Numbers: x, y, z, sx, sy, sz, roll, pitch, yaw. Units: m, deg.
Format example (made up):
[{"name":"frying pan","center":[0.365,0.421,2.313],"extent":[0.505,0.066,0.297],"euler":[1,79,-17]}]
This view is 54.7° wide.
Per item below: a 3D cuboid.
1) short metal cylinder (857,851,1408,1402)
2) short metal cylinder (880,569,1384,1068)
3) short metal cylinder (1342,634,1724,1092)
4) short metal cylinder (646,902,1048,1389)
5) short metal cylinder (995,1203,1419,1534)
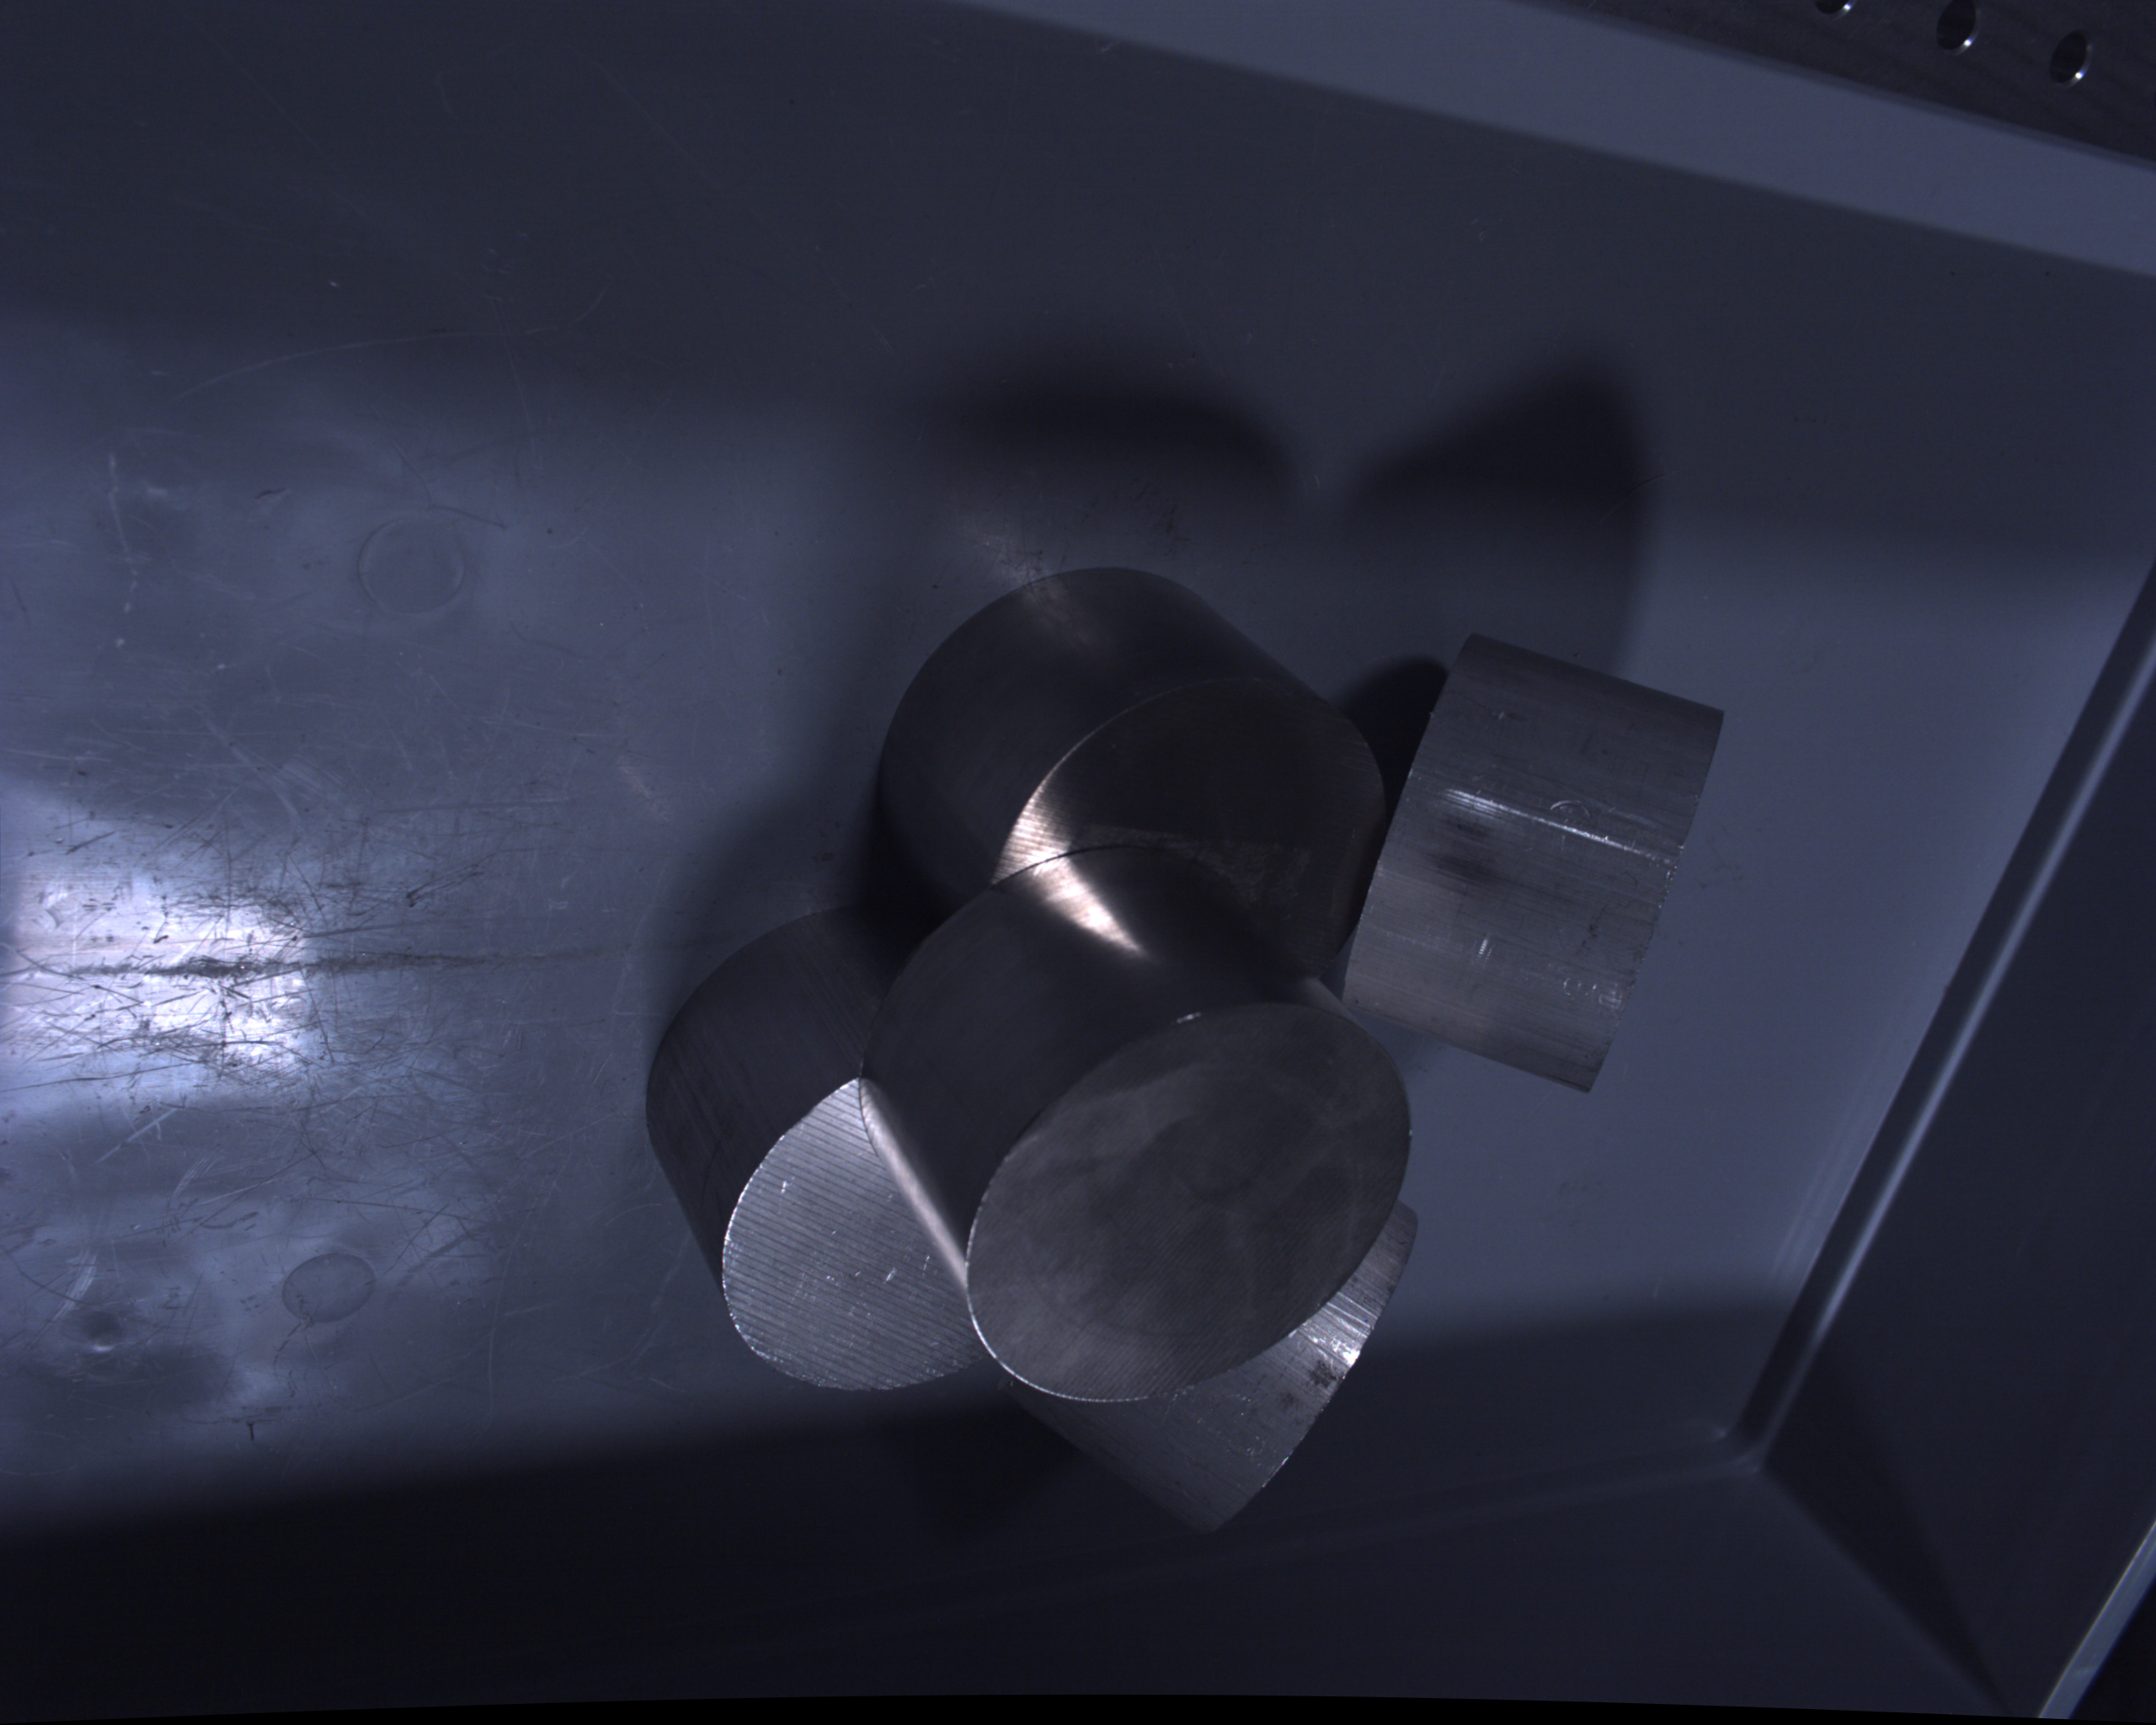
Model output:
[{"name":"short metal cylinder","center":[0.009,0.045,0.358],"extent":[0.081,0.050,0.079],"euler":[-14,125,-21]},{"name":"short metal cylinder","center":[0.010,-0.009,0.391],"extent":[0.081,0.050,0.079],"euler":[-14,125,-21]},{"name":"short metal cylinder","center":[0.090,0.000,0.415],"extent":[0.080,0.050,0.080],"euler":[18,91,-77]},{"name":"short metal cylinder","center":[-0.038,0.055,0.406],"extent":[0.081,0.050,0.079],"euler":[-14,125,-21]},{"name":"short metal cylinder","center":[0.027,0.091,0.435],"extent":[0.050,0.080,0.080],"euler":[35,101,2]}]
